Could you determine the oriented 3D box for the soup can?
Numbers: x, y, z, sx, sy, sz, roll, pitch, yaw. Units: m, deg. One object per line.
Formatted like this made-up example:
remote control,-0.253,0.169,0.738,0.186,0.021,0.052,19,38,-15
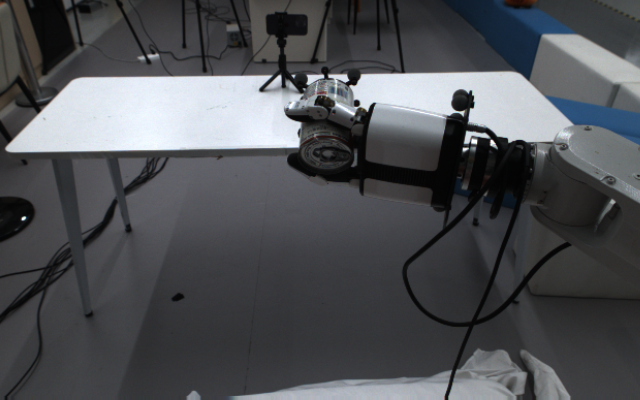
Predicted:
soup can,0.010,-0.092,0.597,0.067,0.067,0.101,3,57,1
